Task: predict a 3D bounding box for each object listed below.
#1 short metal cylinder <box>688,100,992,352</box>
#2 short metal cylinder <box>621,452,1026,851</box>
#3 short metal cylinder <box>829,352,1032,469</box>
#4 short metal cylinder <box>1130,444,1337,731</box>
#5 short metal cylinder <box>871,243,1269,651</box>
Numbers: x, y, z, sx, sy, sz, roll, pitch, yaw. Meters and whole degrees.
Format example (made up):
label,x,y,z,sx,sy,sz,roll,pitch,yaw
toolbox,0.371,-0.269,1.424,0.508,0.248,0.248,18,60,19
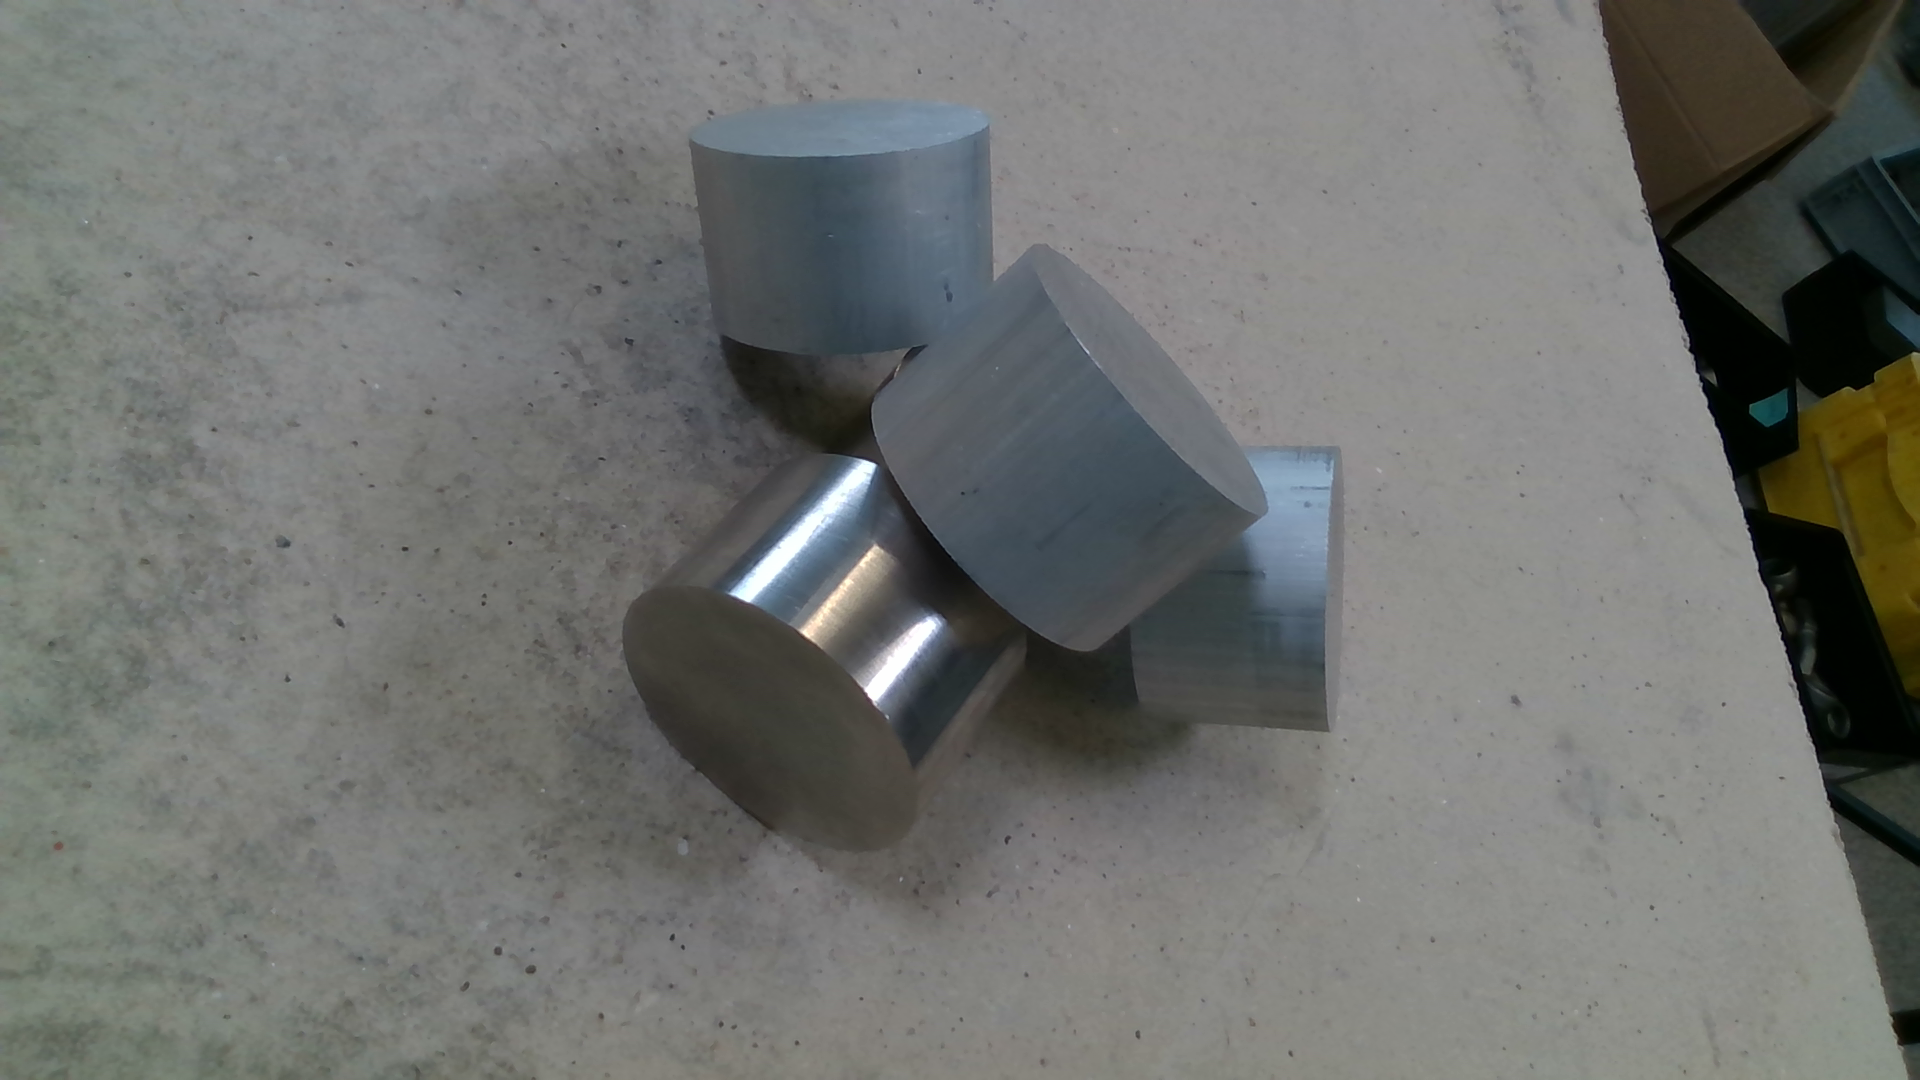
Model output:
label,x,y,z,sx,sy,sz,roll,pitch,yaw
short metal cylinder,-0.031,-0.089,0.379,0.080,0.050,0.080,-1,27,1
short metal cylinder,-0.032,0.026,0.324,0.080,0.080,0.050,43,51,-5
short metal cylinder,0.005,-0.015,0.388,0.080,0.050,0.080,15,59,-25
short metal cylinder,0.081,0.013,0.393,0.050,0.080,0.080,1,54,18
short metal cylinder,0.026,-0.021,0.318,0.080,0.050,0.080,41,21,-20
